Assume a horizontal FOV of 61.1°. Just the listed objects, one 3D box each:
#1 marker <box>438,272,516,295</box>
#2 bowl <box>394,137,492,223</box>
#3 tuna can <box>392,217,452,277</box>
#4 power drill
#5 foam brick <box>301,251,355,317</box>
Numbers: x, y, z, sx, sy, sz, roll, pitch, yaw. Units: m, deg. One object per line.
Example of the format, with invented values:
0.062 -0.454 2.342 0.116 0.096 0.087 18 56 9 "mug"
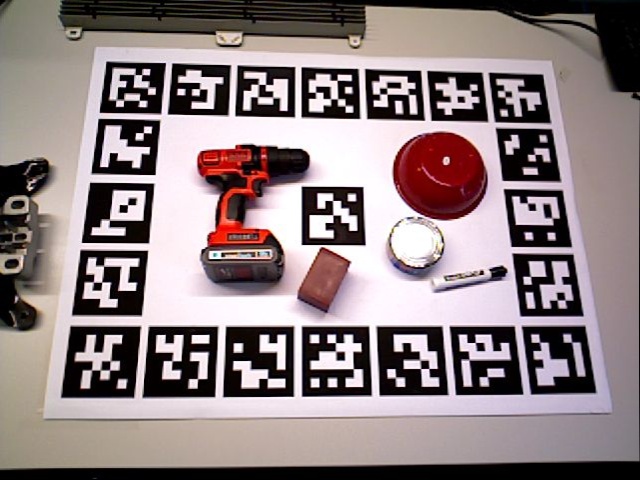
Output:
0.239 0.065 0.821 0.120 0.020 0.019 -8 74 -7 "marker"
0.202 -0.110 0.868 0.161 0.056 0.160 0 65 -1 "bowl"
0.154 0.012 0.826 0.085 0.034 0.085 2 72 -6 "tuna can"
-0.103 -0.044 0.818 0.183 0.058 0.185 1 69 -8 "power drill"
0.012 0.066 0.796 0.051 0.053 0.077 24 73 2 "foam brick"
